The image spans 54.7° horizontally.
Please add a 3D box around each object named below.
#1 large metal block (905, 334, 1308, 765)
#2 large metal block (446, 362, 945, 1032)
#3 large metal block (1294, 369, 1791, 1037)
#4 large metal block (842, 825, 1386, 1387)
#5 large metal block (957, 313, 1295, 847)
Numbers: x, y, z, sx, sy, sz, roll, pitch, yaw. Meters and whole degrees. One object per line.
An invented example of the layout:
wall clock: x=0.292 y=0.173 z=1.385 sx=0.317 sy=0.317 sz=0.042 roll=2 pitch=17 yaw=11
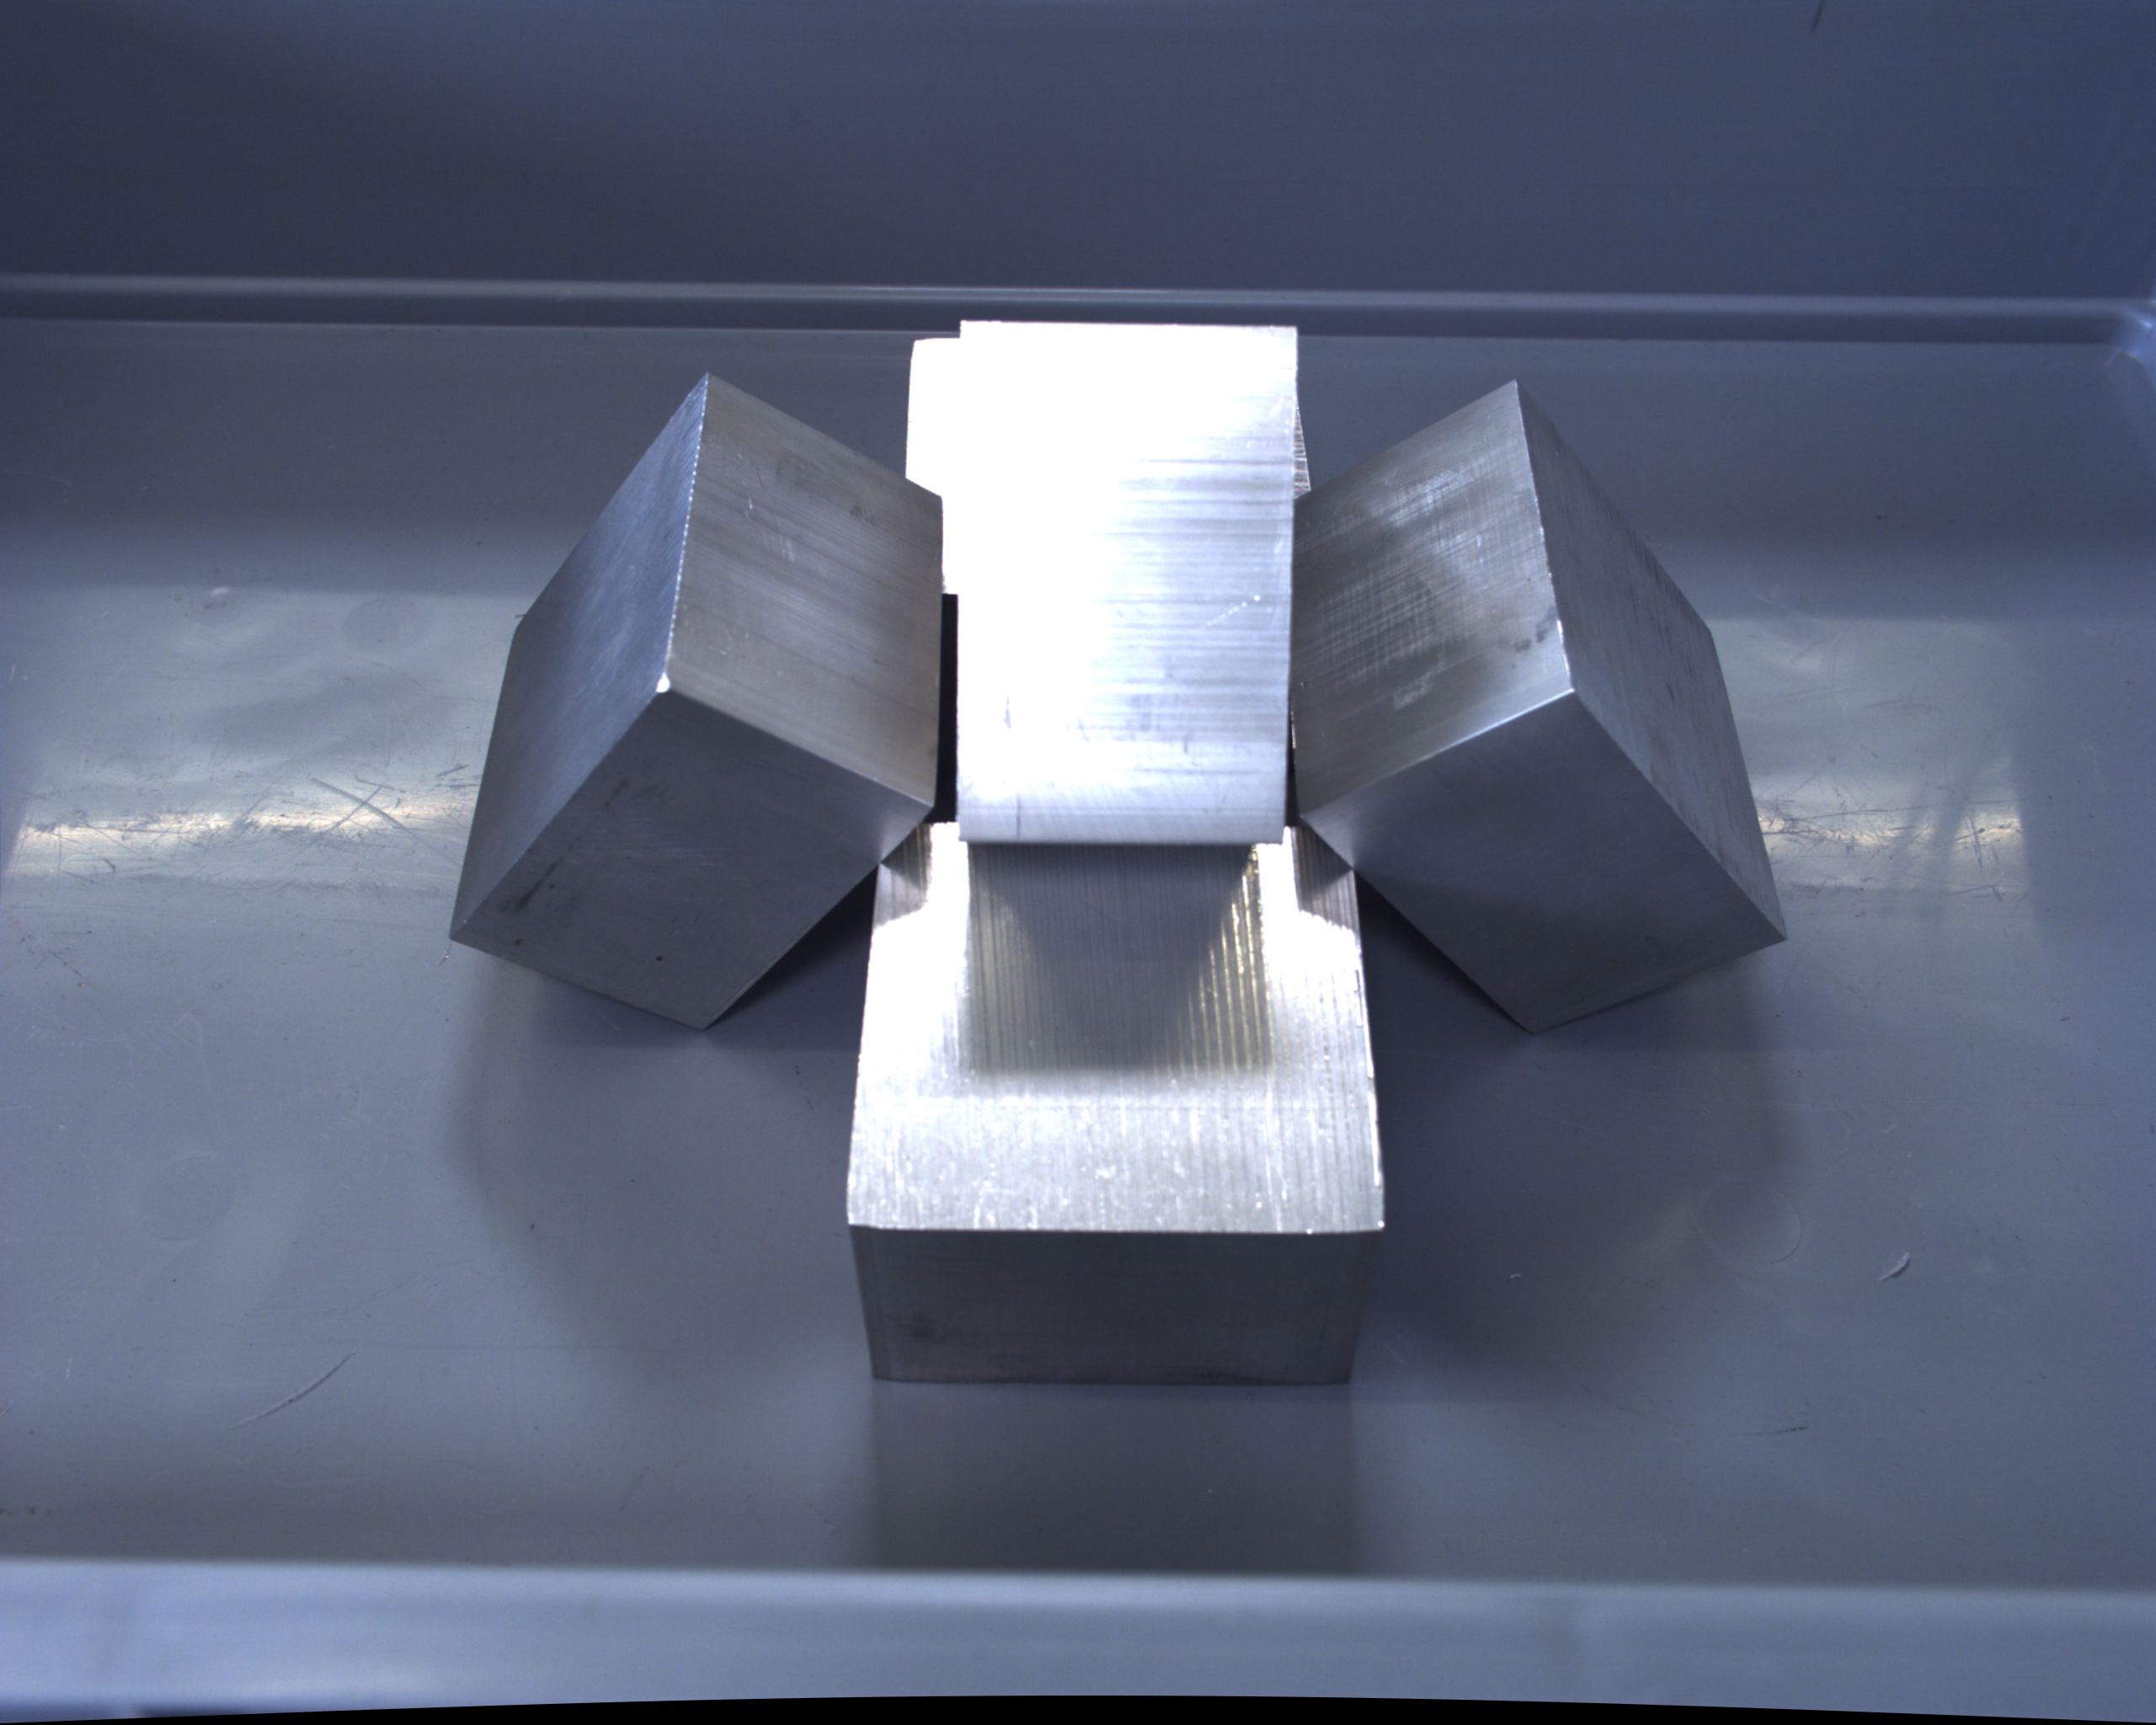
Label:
large metal block: x=0.005 y=-0.067 z=0.440 sx=0.081 sy=0.050 sz=0.080 roll=-1 pitch=50 yaw=-1
large metal block: x=-0.068 y=-0.028 z=0.381 sx=0.050 sy=0.080 sz=0.080 roll=24 pitch=44 yaw=-28
large metal block: x=0.082 y=-0.028 z=0.382 sx=0.050 sy=0.080 sz=0.080 roll=-26 pitch=43 yaw=29
large metal block: x=0.006 y=0.040 z=0.353 sx=0.080 sy=0.050 sz=0.080 roll=1 pitch=50 yaw=0
large metal block: x=0.006 y=-0.047 z=0.355 sx=0.050 sy=0.079 sz=0.080 roll=0 pitch=6 yaw=-1
